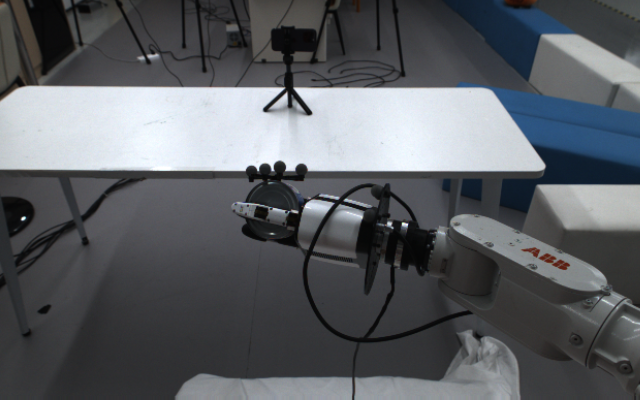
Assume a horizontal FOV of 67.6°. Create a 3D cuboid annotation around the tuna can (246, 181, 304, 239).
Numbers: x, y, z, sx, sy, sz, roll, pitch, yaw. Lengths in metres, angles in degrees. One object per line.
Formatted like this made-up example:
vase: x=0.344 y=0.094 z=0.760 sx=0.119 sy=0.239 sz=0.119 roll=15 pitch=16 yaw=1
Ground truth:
tuna can: x=-0.065 y=0.015 z=0.710 sx=0.085 sy=0.085 sz=0.034 roll=15 pitch=1 yaw=18
